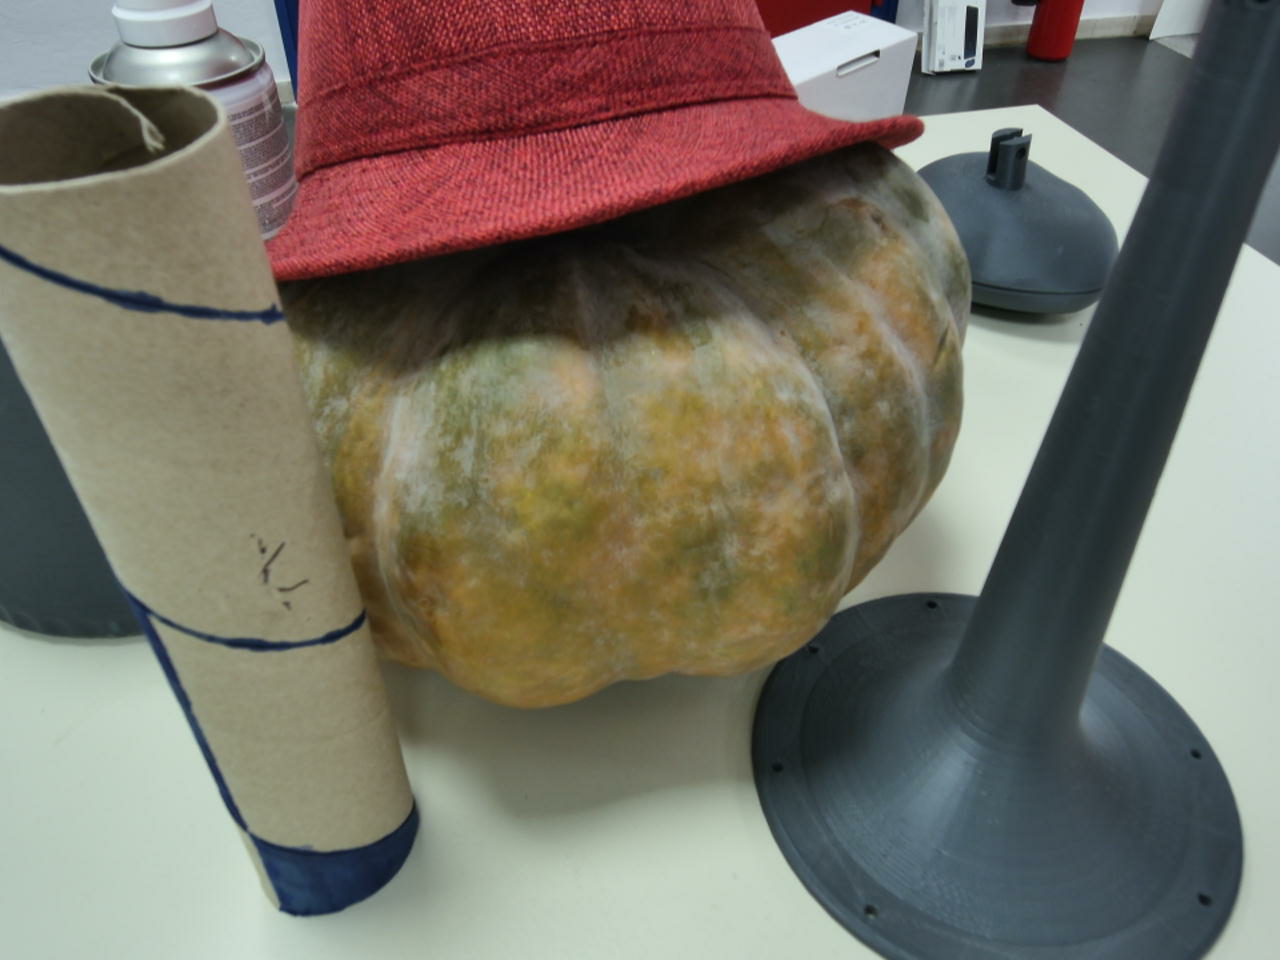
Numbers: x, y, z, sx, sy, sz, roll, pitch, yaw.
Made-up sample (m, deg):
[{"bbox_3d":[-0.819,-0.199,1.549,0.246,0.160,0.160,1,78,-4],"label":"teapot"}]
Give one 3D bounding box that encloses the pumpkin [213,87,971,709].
[{"bbox_3d":[-0.019,-0.036,0.351,0.252,0.169,0.251,0,38,0],"label":"pumpkin"}]
